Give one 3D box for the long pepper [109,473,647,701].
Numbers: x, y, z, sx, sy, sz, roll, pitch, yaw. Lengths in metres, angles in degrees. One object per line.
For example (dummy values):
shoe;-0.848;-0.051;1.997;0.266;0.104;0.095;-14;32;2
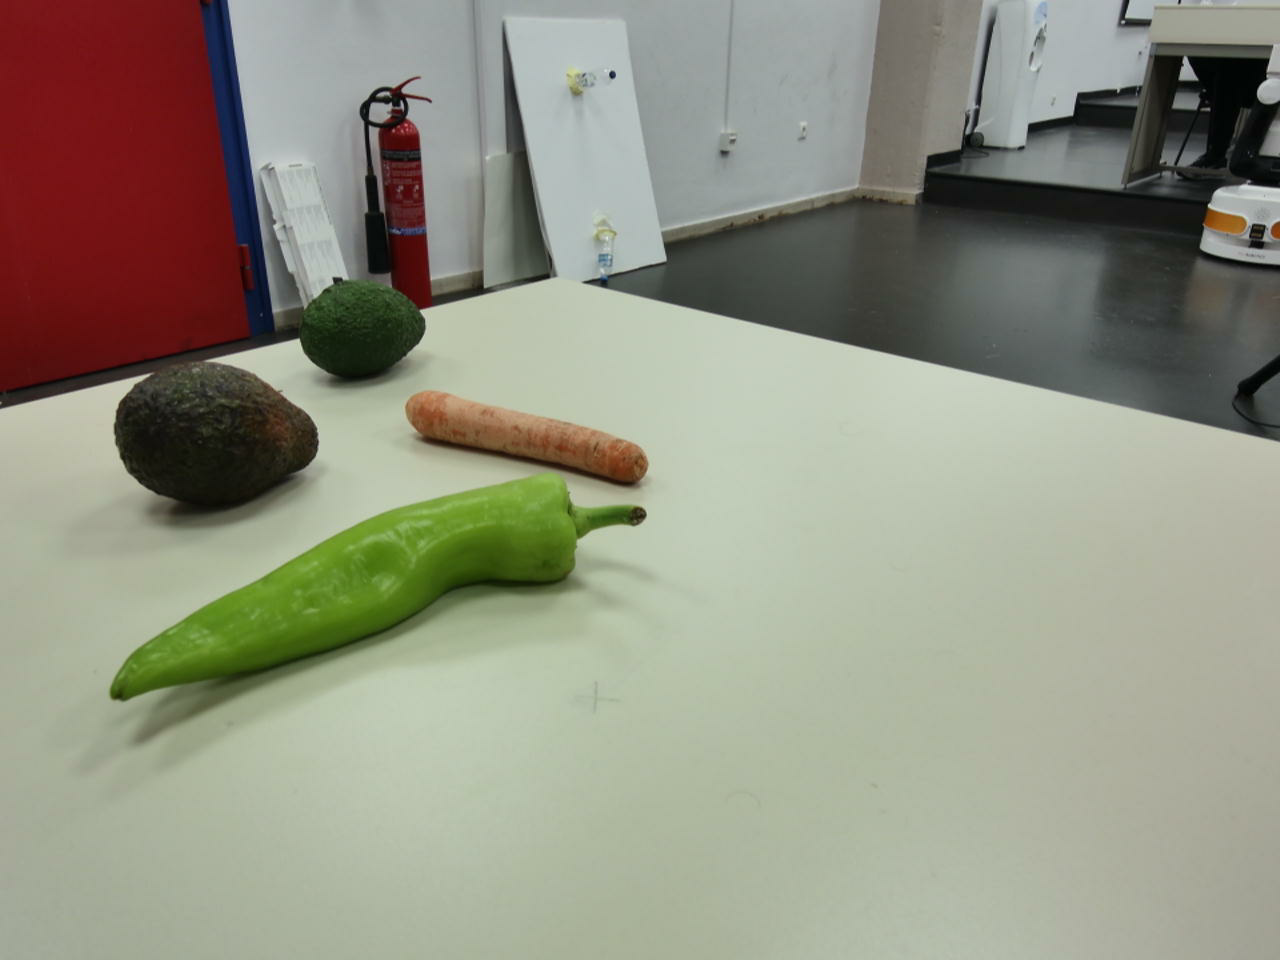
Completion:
long pepper;-0.098;0.036;0.390;0.204;0.045;0.065;-15;27;-32
